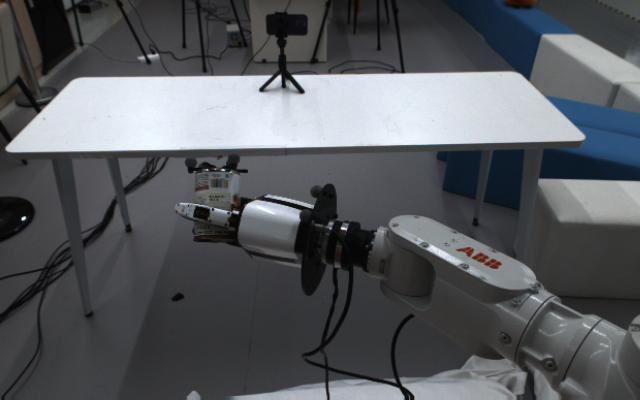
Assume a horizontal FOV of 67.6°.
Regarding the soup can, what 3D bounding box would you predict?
[{"bbox_3d":[-0.150,0.011,0.710,0.067,0.101,0.067,-1,-9,0],"label":"soup can"}]
